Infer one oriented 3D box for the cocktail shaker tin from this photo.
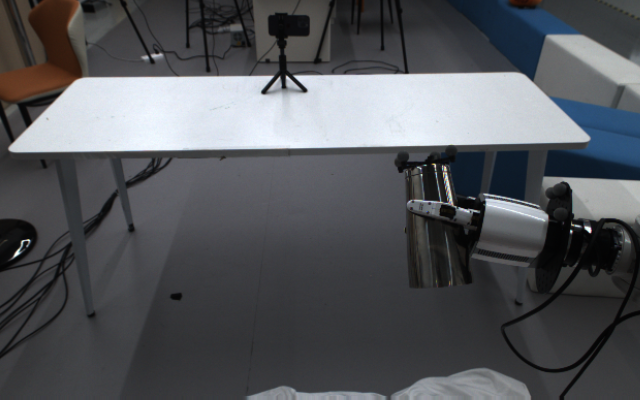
[{"bbox_3d":[0.167,0.037,0.704,0.093,0.170,0.093,-6,-7,-1],"label":"cocktail shaker tin"}]
